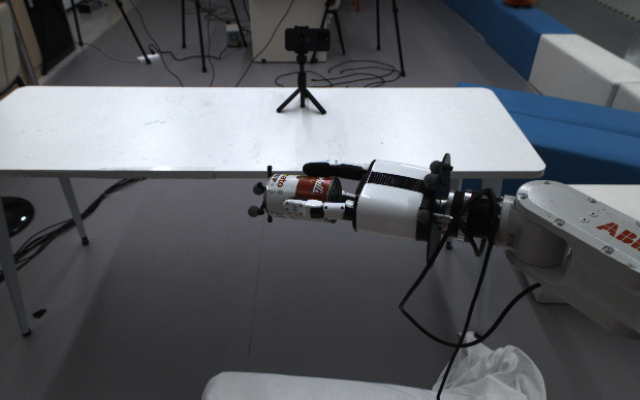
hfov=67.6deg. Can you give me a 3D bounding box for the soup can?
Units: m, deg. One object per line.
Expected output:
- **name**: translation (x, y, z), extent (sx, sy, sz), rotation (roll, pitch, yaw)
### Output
- **soup can**: translation (-0.023, -0.003, 0.726), extent (0.101, 0.067, 0.067), rotation (5, 34, 18)
